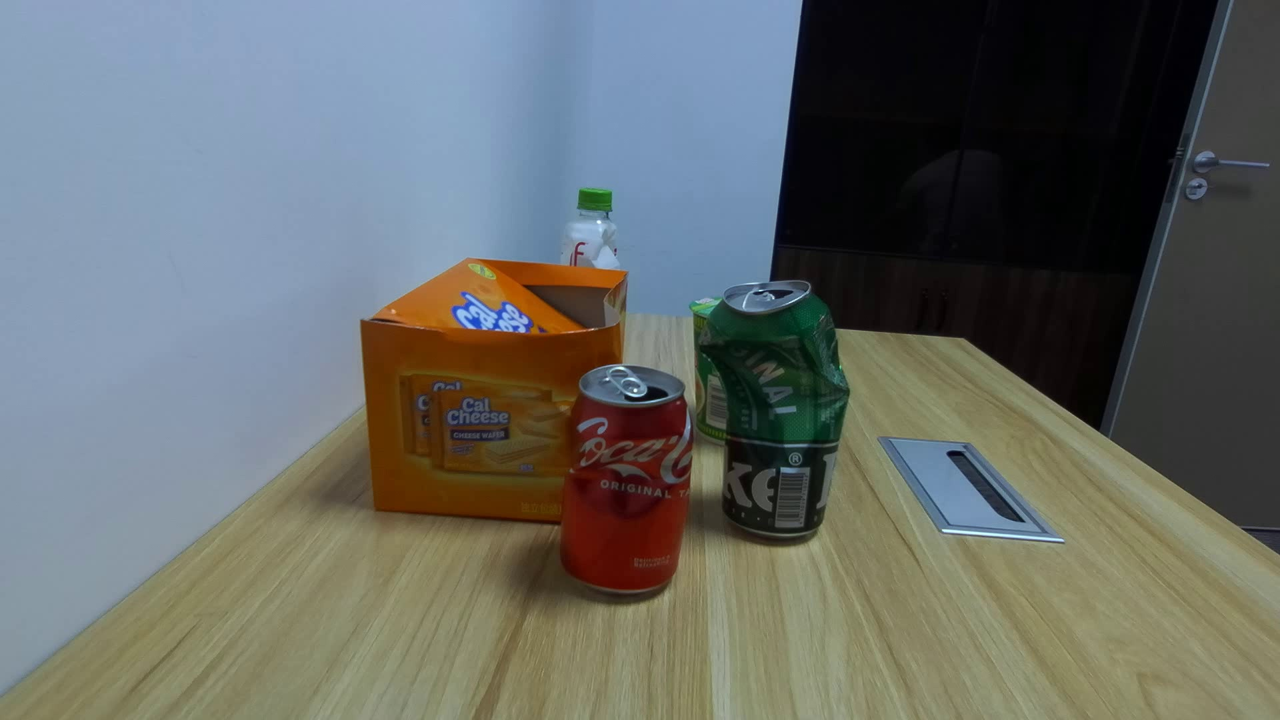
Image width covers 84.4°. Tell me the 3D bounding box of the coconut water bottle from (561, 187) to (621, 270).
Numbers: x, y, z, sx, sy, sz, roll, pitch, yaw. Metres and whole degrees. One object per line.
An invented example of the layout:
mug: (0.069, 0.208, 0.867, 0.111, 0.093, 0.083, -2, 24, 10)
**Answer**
coconut water bottle: (-0.043, -0.064, 0.665, 0.069, 0.186, 0.069, 1, 18, 0)

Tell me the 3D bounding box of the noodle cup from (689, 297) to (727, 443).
noodle cup: (0.091, 0.005, 0.634, 0.097, 0.110, 0.097, 1, 8, 0)

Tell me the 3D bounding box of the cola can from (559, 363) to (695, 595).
cola can: (-0.009, 0.063, 0.381, 0.066, 0.117, 0.066, 2, 18, -6)

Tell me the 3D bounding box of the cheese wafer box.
cheese wafer box: (-0.088, 0.011, 0.524, 0.152, 0.132, 0.230, 6, 16, 0)

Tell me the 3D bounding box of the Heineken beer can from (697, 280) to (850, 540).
Heineken beer can: (0.087, 0.032, 0.444, 0.079, 0.159, 0.067, -10, 17, -20)
